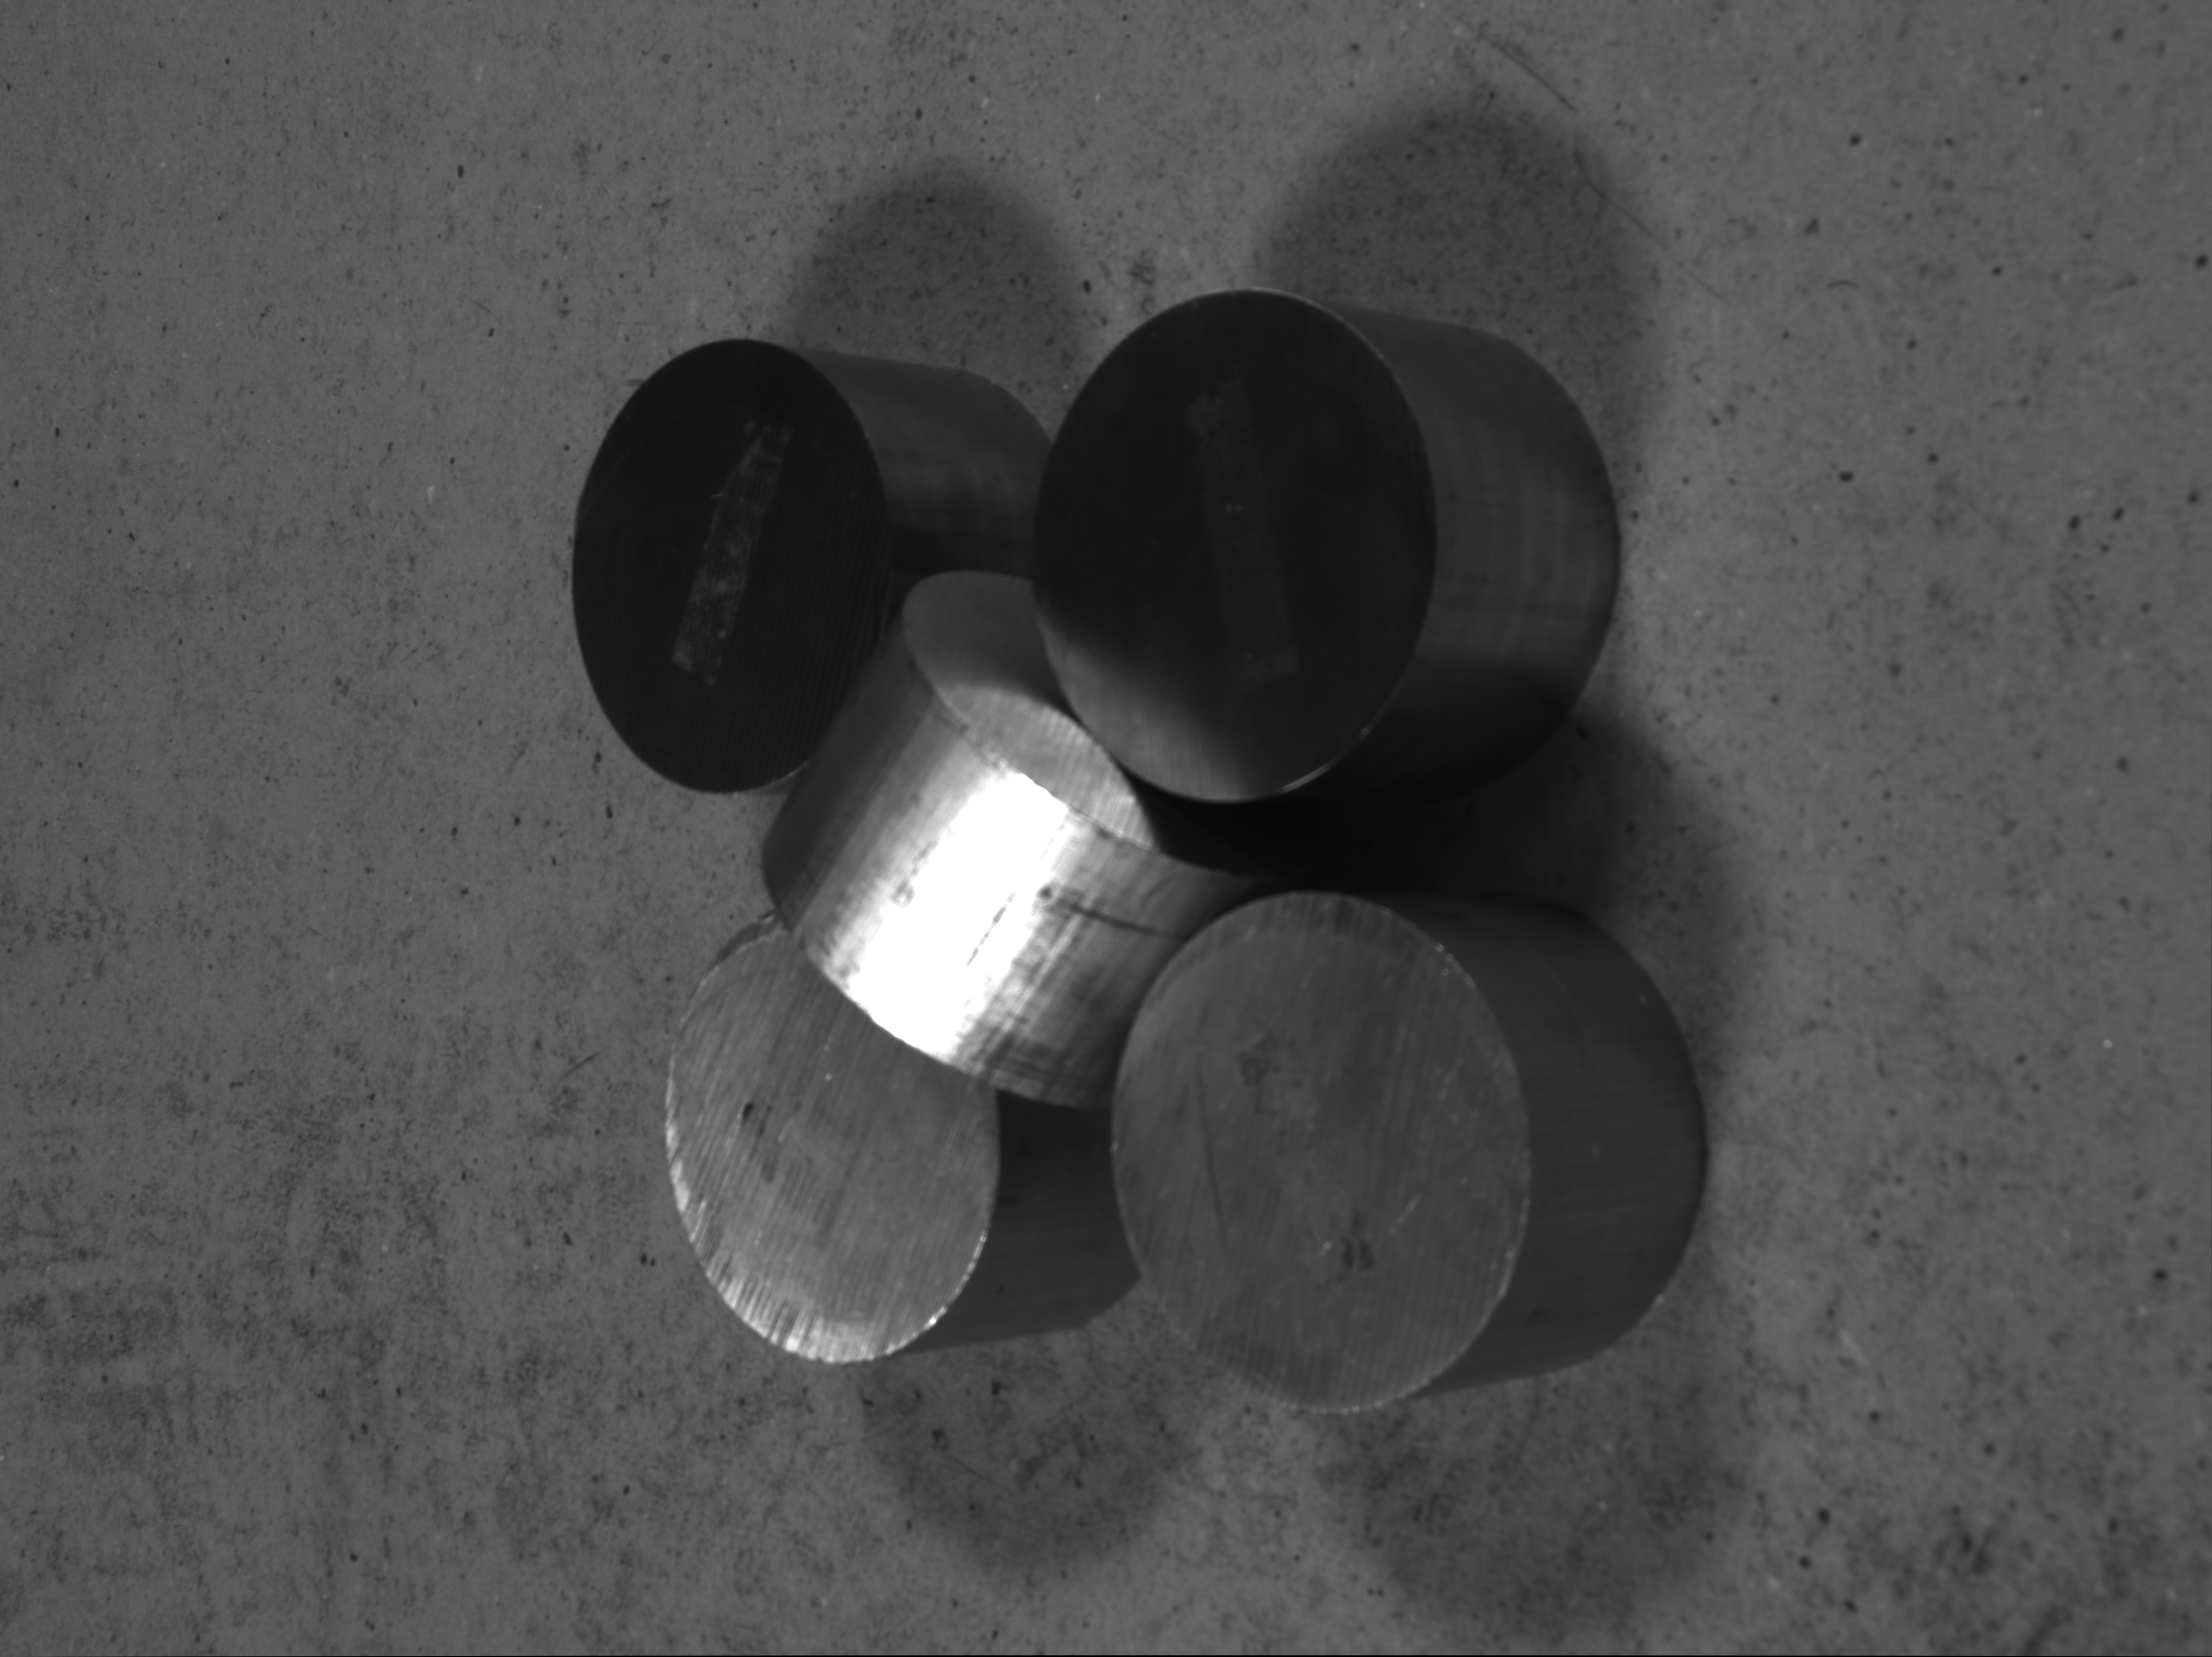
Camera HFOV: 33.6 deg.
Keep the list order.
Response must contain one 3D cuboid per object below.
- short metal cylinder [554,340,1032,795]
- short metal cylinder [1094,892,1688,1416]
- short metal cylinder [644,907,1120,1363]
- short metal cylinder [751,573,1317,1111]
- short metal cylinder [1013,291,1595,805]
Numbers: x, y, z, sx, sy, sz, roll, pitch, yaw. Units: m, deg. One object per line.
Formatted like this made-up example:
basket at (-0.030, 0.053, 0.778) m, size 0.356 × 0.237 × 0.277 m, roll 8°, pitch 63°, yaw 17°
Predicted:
short metal cylinder at (-0.054, -0.046, 0.664) m, size 0.080 × 0.050 × 0.080 m, roll 0°, pitch 90°, yaw 39°
short metal cylinder at (0.045, 0.050, 0.582) m, size 0.080 × 0.050 × 0.080 m, roll 0°, pitch 90°, yaw 39°
short metal cylinder at (-0.036, 0.052, 0.648) m, size 0.080 × 0.050 × 0.080 m, roll 0°, pitch 90°, yaw 39°
short metal cylinder at (-0.012, 0.002, 0.611) m, size 0.080 × 0.080 × 0.050 m, roll 47°, pitch 117°, yaw 29°
short metal cylinder at (0.032, -0.044, 0.592) m, size 0.080 × 0.050 × 0.080 m, roll 0°, pitch 90°, yaw 39°
